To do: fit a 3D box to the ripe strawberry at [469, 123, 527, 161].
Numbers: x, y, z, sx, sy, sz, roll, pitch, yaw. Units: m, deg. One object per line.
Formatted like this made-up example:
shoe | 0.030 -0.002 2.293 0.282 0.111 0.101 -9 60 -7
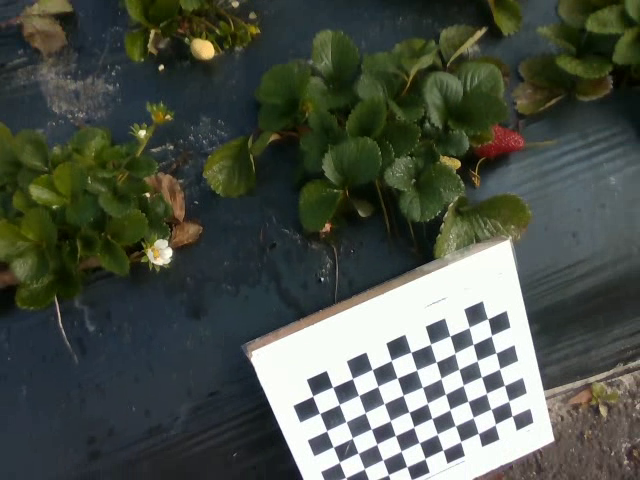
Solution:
ripe strawberry | 0.183 -0.100 0.582 0.064 0.051 0.043 9 13 -16
